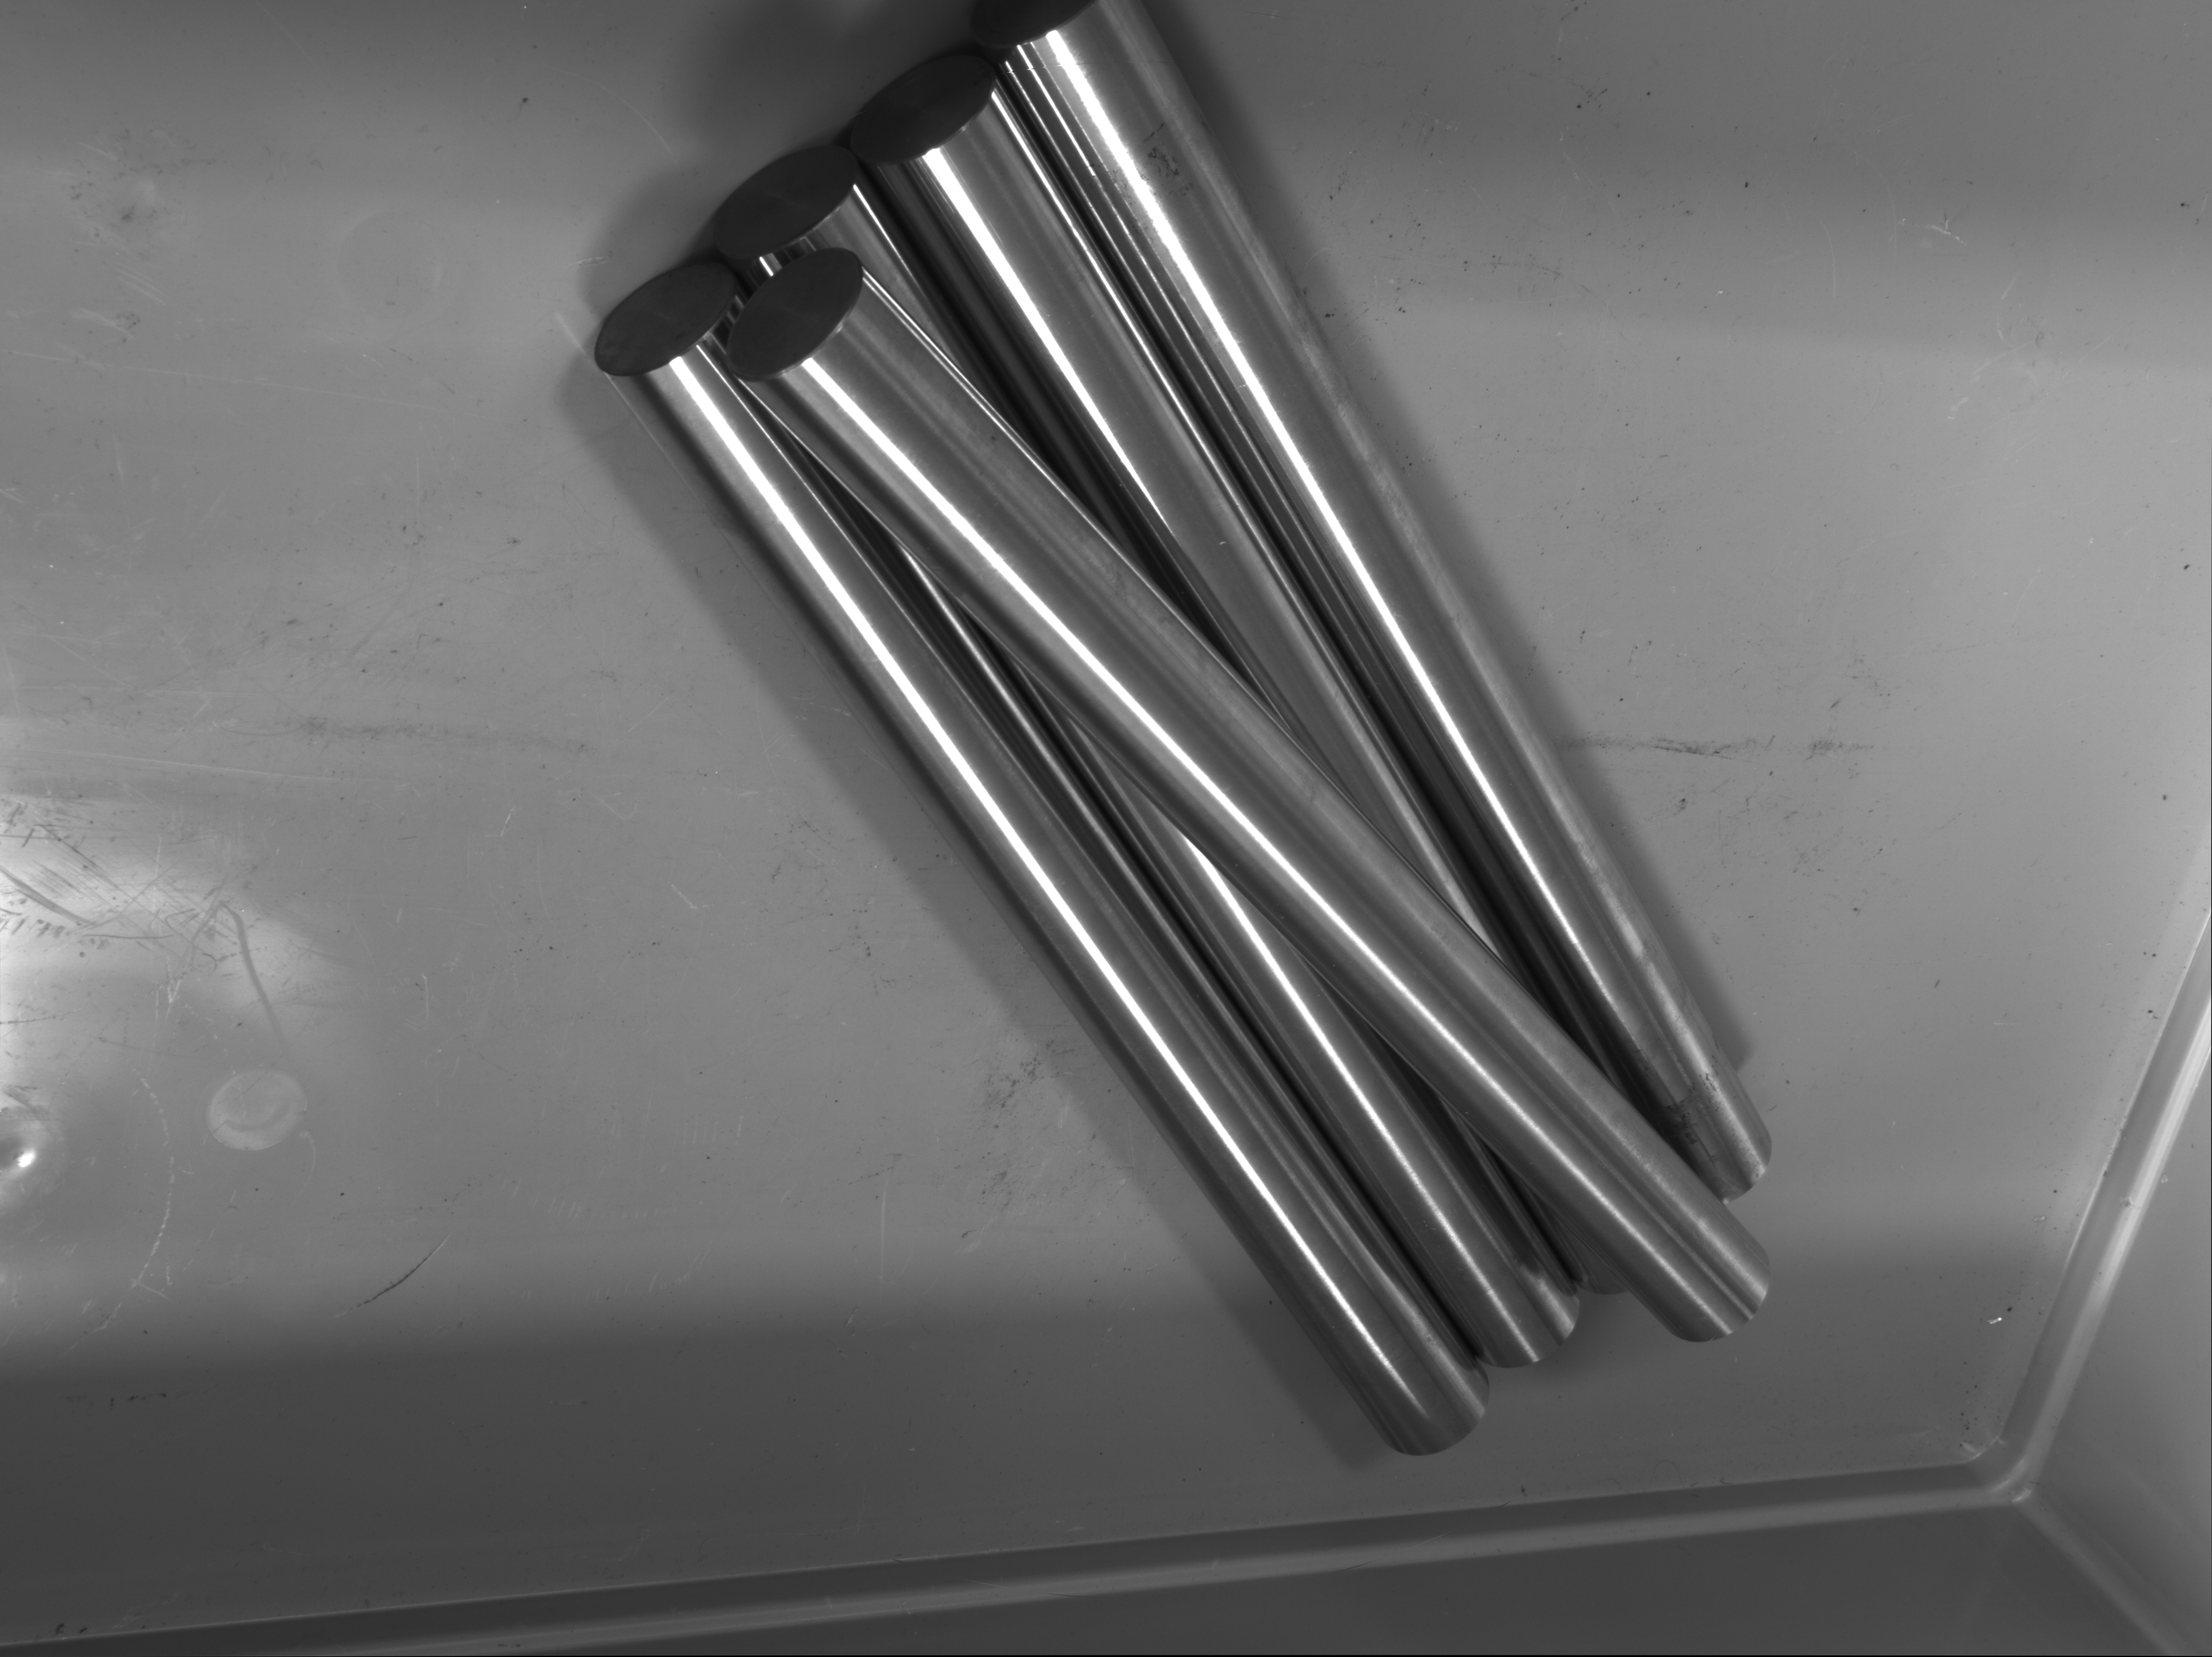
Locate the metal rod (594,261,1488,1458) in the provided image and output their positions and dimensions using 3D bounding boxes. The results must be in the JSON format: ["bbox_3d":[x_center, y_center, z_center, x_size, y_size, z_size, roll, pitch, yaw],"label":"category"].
[{"bbox_3d":[0.000,0.020,0.648,0.025,0.025,0.301,-37,129,-3],"label":"metal rod"}]

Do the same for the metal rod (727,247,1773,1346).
[{"bbox_3d":[0.037,0.008,0.628,0.025,0.025,0.301,-44,129,2],"label":"metal rod"}]

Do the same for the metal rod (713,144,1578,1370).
[{"bbox_3d":[0.018,0.002,0.647,0.025,0.025,0.301,-37,129,-3],"label":"metal rod"}]

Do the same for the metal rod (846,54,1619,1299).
[{"bbox_3d":[0.038,-0.012,0.649,0.025,0.025,0.301,-37,129,-3],"label":"metal rod"}]

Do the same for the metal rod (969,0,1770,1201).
[{"bbox_3d":[0.056,-0.030,0.648,0.025,0.025,0.301,-37,129,-3],"label":"metal rod"}]
